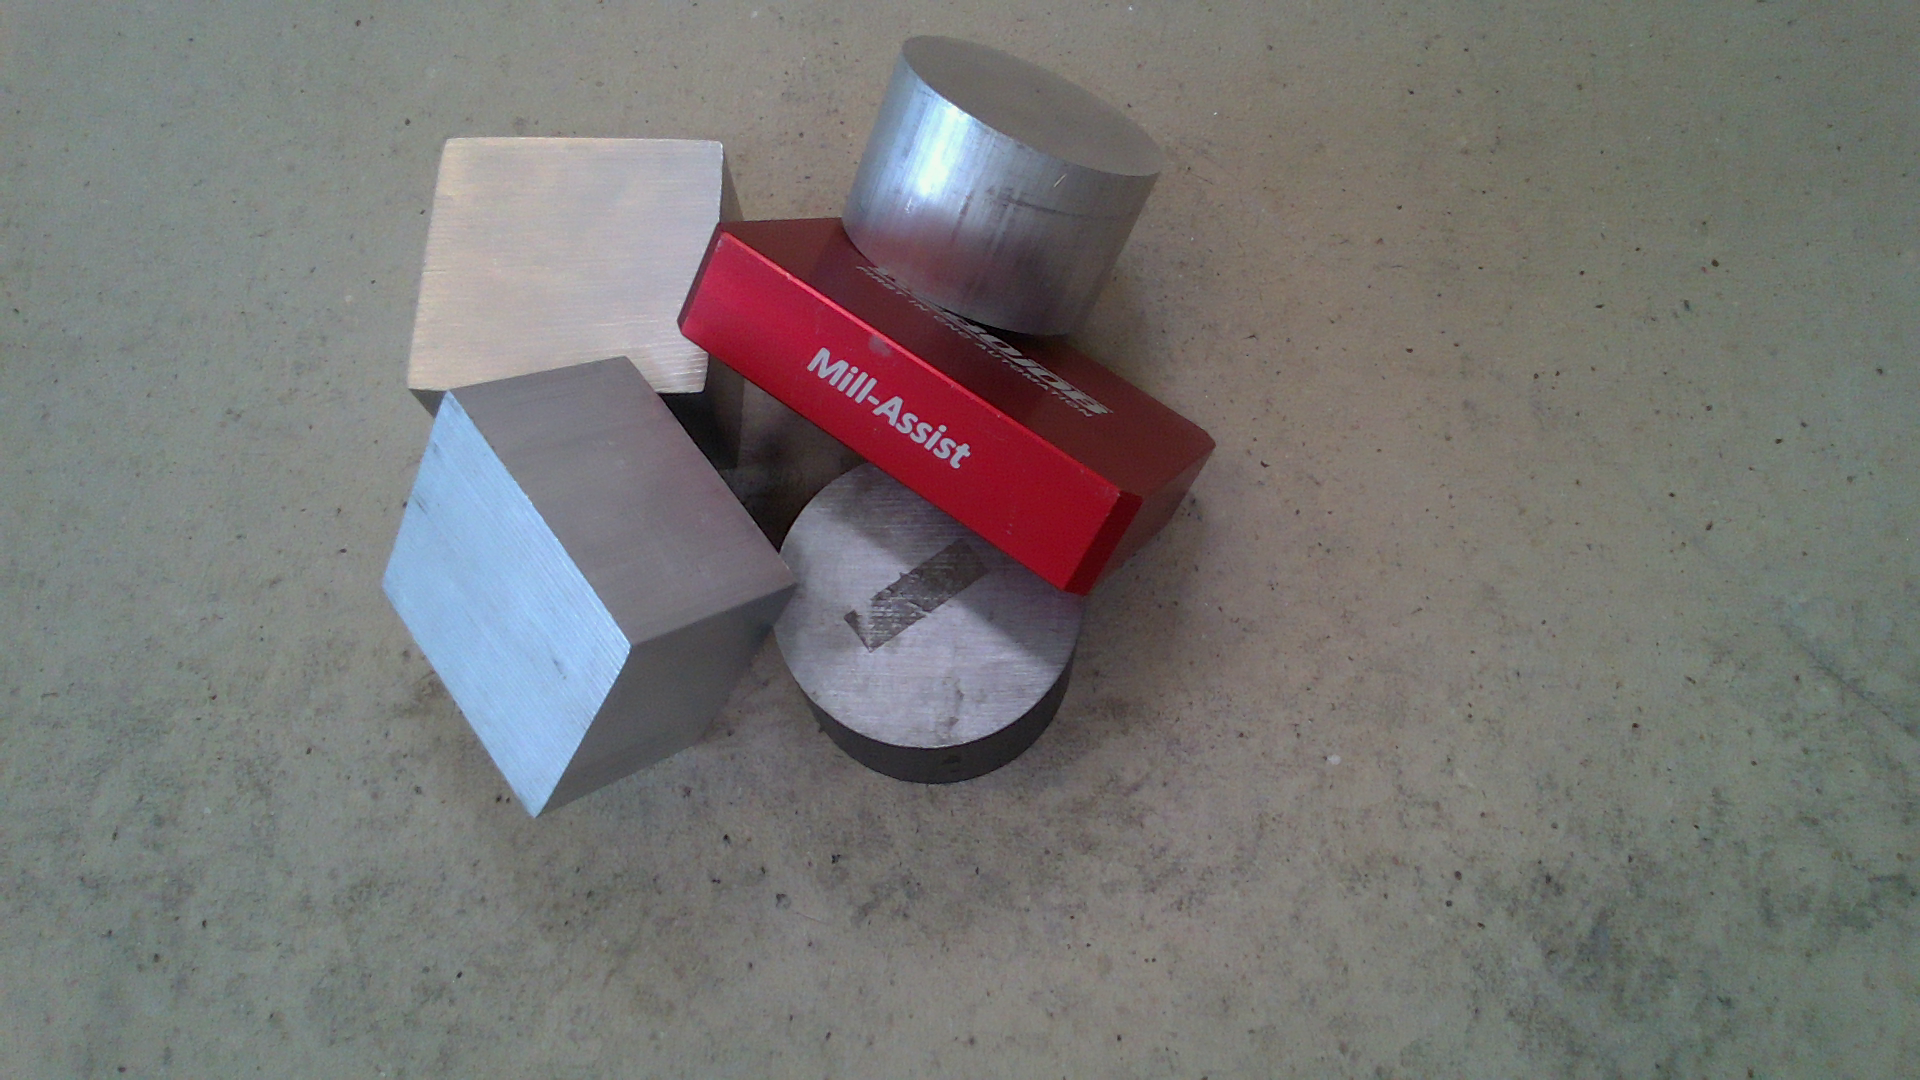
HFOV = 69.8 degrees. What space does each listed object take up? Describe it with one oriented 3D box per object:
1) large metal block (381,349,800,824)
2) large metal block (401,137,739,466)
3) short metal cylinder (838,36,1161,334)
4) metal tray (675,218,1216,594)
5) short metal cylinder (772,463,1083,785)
[{"bbox_3d":[-0.098,0.011,0.354,0.050,0.080,0.080,-22,67,-46],"label":"large metal block"},{"bbox_3d":[-0.108,-0.069,0.404,0.080,0.050,0.080,1,70,0],"label":"large metal block"},{"bbox_3d":[0.011,-0.103,0.398,0.080,0.050,0.080,19,33,-12],"label":"short metal cylinder"},{"bbox_3d":[-0.001,-0.043,0.377,0.130,0.090,0.030,34,113,12],"label":"metal tray"},{"bbox_3d":[-0.008,0.022,0.374,0.080,0.050,0.080,0,70,0],"label":"short metal cylinder"}]
